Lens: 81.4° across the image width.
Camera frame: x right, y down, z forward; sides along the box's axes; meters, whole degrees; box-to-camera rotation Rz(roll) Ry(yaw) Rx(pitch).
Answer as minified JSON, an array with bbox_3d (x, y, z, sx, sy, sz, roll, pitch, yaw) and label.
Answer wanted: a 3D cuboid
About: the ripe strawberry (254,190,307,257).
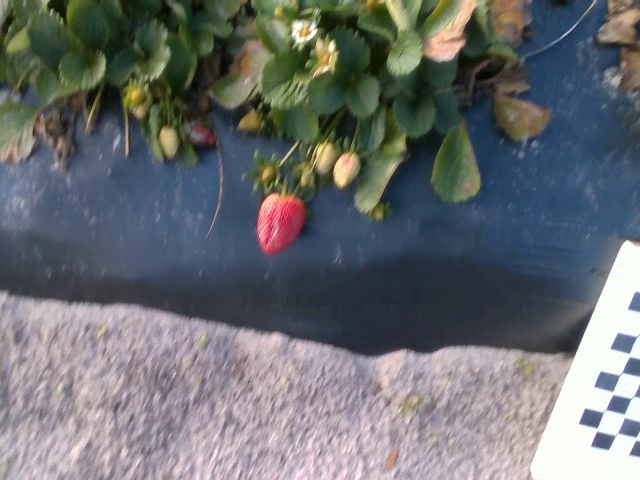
[{"bbox_3d":[-0.045,-0.022,0.402,0.052,0.068,0.045,9,-34,0],"label":"ripe strawberry"}]
